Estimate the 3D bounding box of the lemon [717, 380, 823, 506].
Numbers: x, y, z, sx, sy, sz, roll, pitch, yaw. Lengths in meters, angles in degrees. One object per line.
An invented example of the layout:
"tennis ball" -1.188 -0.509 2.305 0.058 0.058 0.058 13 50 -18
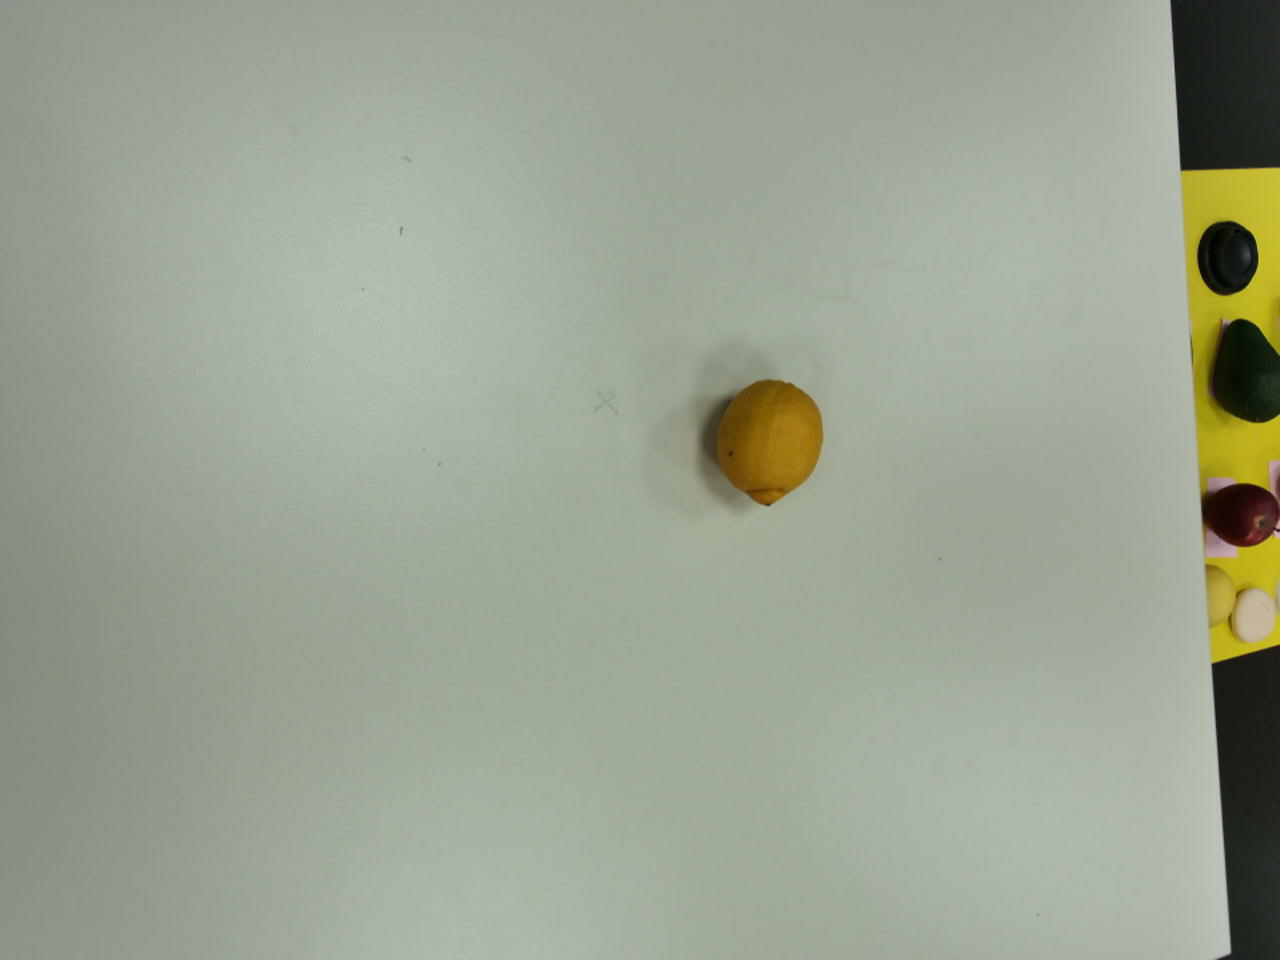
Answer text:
"lemon" 0.074 -0.023 0.572 0.061 0.059 0.067 38 77 -18
